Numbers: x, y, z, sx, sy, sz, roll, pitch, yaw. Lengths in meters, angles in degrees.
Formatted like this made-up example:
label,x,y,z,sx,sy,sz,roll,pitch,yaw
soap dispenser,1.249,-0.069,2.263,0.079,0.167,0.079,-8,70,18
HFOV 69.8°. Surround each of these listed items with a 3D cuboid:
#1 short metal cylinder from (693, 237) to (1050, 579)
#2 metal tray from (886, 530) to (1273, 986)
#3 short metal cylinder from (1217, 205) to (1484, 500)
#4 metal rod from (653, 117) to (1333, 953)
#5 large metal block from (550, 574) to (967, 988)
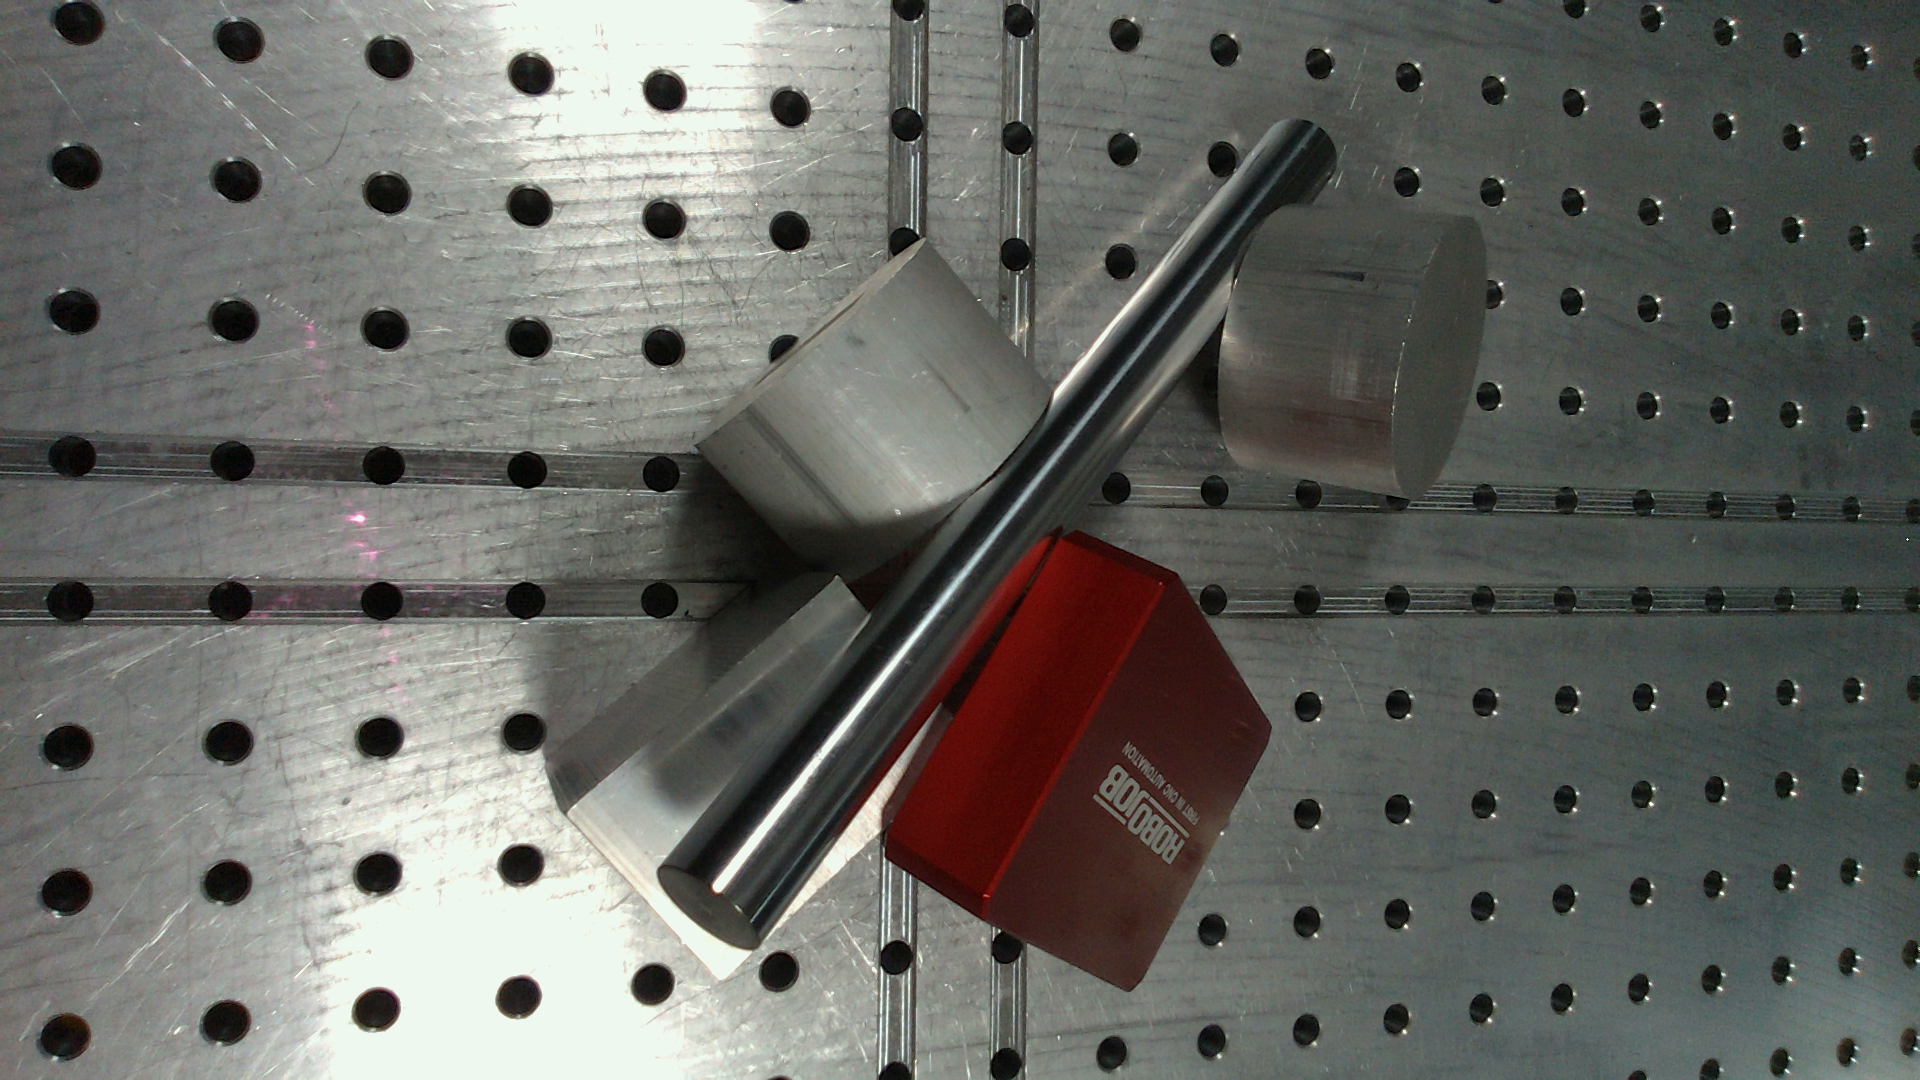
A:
label,x,y,z,sx,sy,sz,roll,pitch,yaw
short metal cylinder,-0.023,-0.033,0.358,0.080,0.080,0.050,-45,104,-14
metal tray,0.039,0.064,0.365,0.090,0.030,0.130,-59,149,-10
short metal cylinder,0.116,-0.056,0.404,0.080,0.050,0.080,-28,125,-50
metal rod,0.028,-0.025,0.349,0.025,0.025,0.301,48,54,-14
large metal block,-0.052,0.054,0.347,0.080,0.080,0.050,-41,103,-15
